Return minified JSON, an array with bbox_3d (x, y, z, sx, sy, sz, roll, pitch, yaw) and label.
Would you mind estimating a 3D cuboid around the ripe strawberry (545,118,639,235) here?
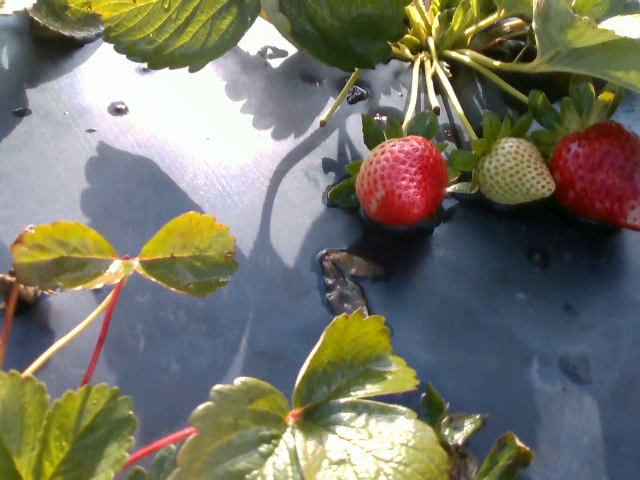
[{"bbox_3d":[0.131,-0.025,0.282,0.048,0.065,0.050,-33,-30,23],"label":"ripe strawberry"}]
